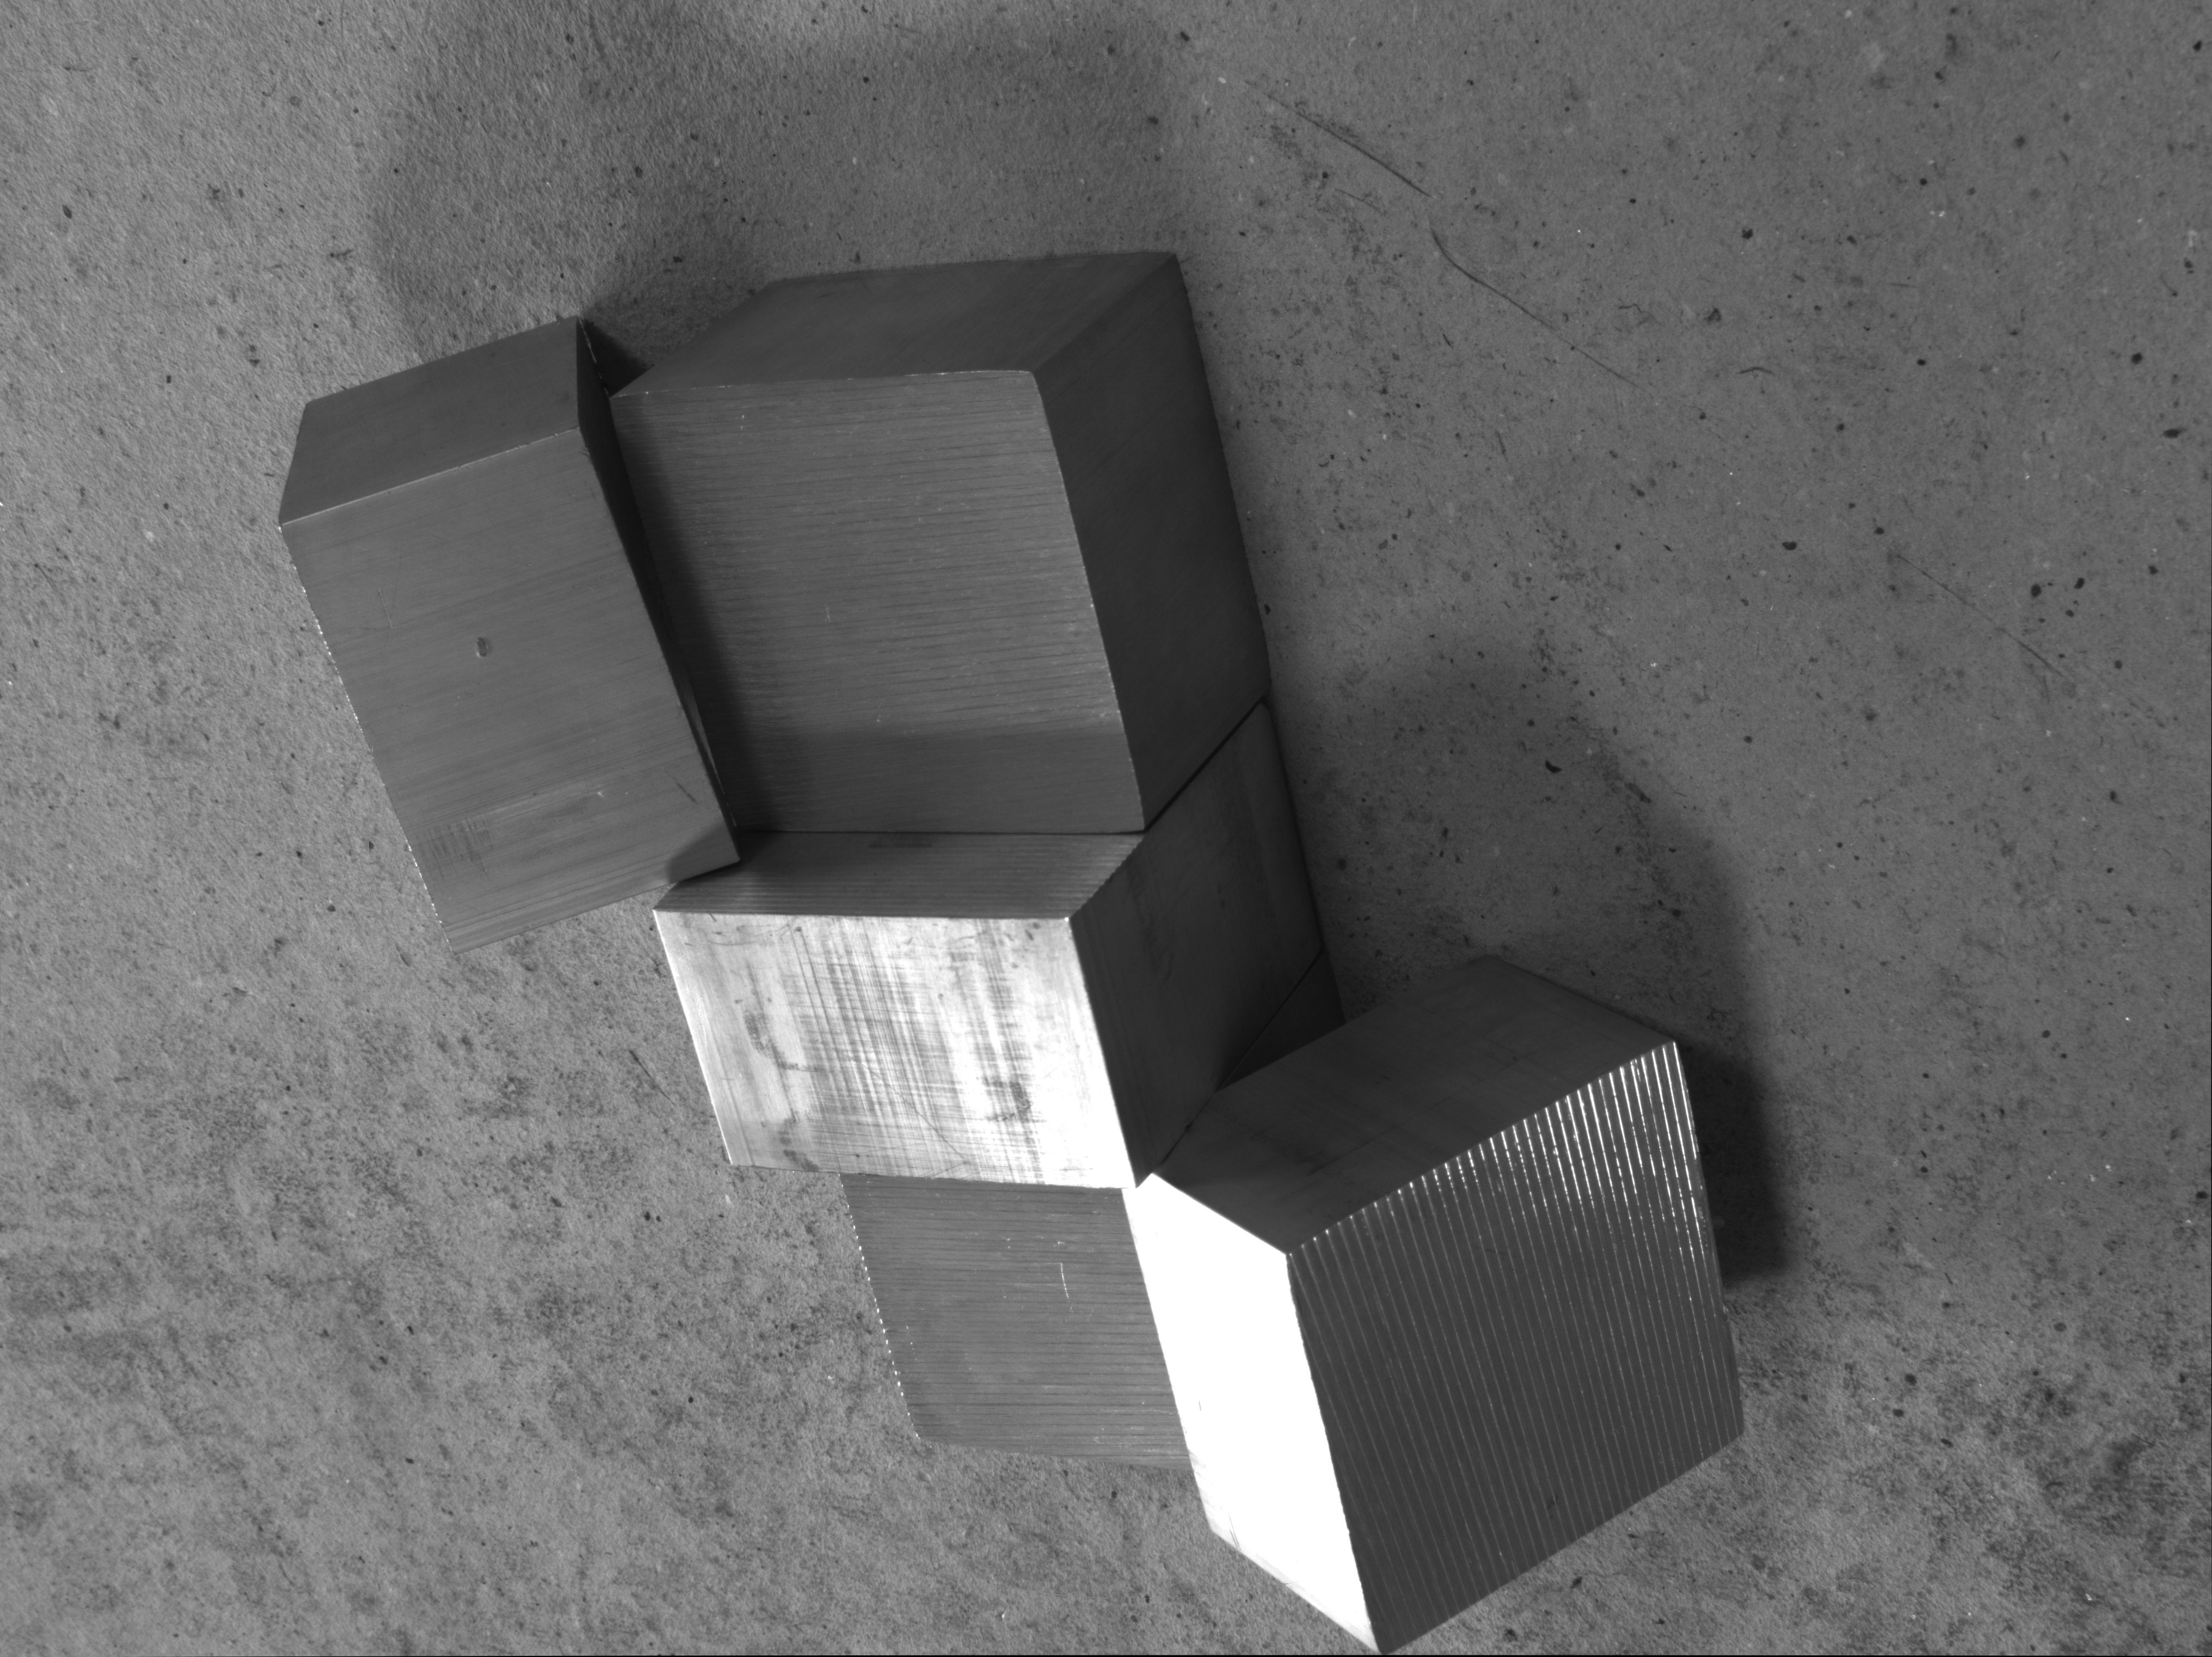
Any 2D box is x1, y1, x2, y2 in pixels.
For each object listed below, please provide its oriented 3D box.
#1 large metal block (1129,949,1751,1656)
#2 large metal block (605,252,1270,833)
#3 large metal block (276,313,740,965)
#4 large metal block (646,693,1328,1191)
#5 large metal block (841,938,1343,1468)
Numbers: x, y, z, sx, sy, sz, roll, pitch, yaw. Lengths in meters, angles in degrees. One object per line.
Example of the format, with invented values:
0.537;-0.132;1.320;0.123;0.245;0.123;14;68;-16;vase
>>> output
0.056;0.078;0.616;0.050;0.080;0.080;26;136;54;large metal block
-0.026;-0.047;0.610;0.080;0.050;0.080;1;118;28;large metal block
-0.101;-0.035;0.631;0.050;0.080;0.080;-18;113;-1;large metal block
-0.018;0.017;0.627;0.080;0.080;0.050;0;118;28;large metal block
0.002;0.067;0.667;0.080;0.050;0.080;1;119;28;large metal block
